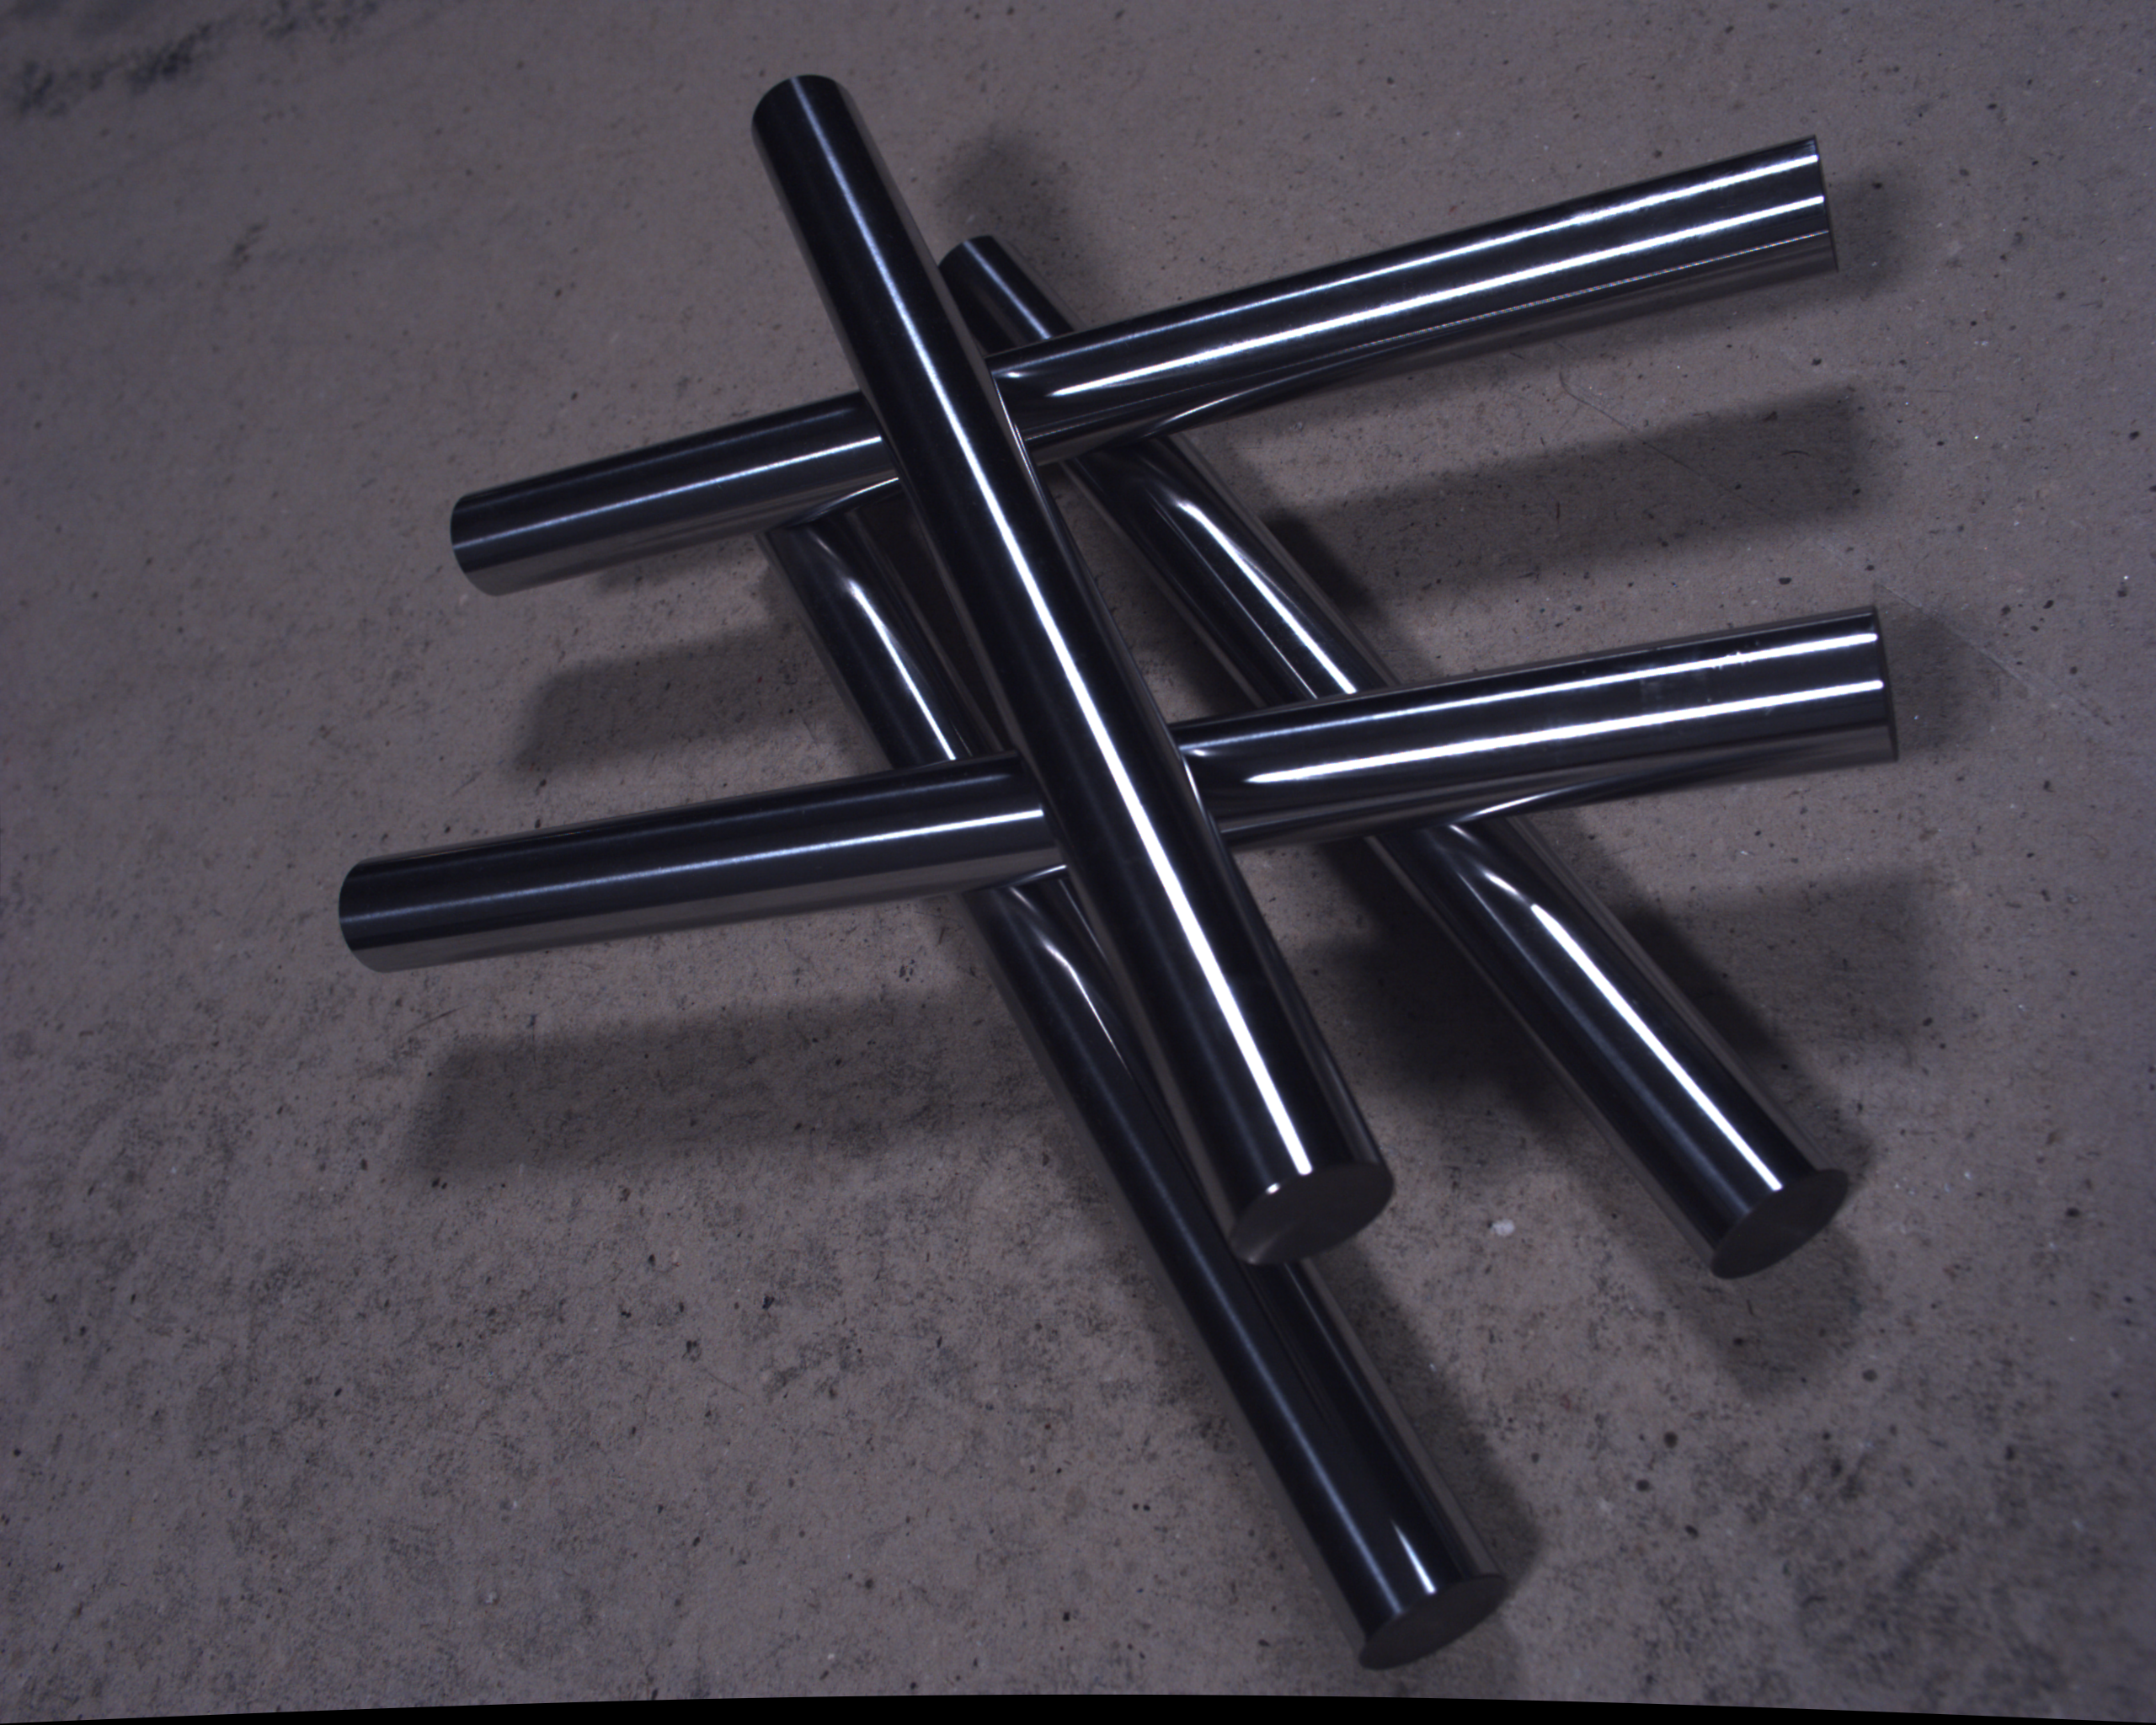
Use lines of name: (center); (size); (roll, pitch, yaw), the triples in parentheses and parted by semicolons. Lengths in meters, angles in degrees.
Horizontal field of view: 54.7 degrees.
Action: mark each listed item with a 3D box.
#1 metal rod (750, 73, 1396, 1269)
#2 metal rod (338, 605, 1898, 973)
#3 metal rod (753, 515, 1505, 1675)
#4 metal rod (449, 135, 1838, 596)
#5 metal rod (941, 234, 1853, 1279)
metal rod: (-0.015, -0.059, 0.384); (0.025, 0.025, 0.299); (-30, 52, 9)
metal rod: (-0.011, -0.008, 0.383); (0.301, 0.025, 0.025); (-8, 58, 23)
metal rod: (-0.009, 0.012, 0.400); (0.025, 0.025, 0.300); (-35, 51, 5)
metal rod: (-0.002, -0.097, 0.433); (0.301, 0.025, 0.025); (-9, 58, 23)
metal rod: (0.041, -0.042, 0.408); (0.025, 0.025, 0.300); (-37, 51, 3)
